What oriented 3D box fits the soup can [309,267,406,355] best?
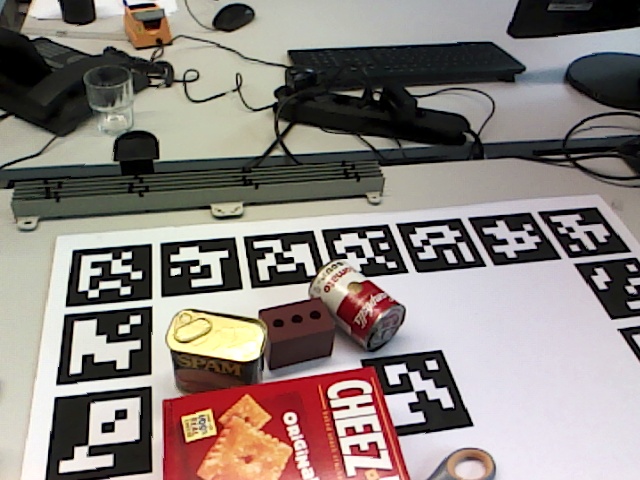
[{"bbox_3d":[0.045,0.085,0.758,0.103,0.068,0.067,31,50,30],"label":"soup can"}]

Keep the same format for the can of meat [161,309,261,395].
[{"bbox_3d":[-0.117,0.127,0.675,0.102,0.083,0.058,6,45,0],"label":"can of meat"}]

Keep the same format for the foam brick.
[{"bbox_3d":[-0.030,0.110,0.726,0.078,0.051,0.053,-12,48,-17],"label":"foam brick"}]

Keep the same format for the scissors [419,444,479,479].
[{"bbox_3d":[0.077,0.255,0.598,0.202,0.016,0.088,-8,47,-13],"label":"scissors"}]

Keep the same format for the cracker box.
[{"bbox_3d":[-0.040,0.217,0.581,0.213,0.072,0.165,-11,46,-11],"label":"cracker box"}]
